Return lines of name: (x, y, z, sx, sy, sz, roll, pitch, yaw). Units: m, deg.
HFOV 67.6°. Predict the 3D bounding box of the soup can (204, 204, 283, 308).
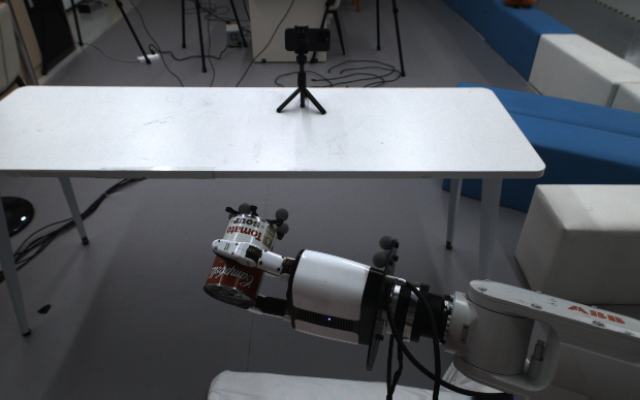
soup can: (-0.098, 0.077, 0.621, 0.067, 0.067, 0.101, 9, 61, 10)
